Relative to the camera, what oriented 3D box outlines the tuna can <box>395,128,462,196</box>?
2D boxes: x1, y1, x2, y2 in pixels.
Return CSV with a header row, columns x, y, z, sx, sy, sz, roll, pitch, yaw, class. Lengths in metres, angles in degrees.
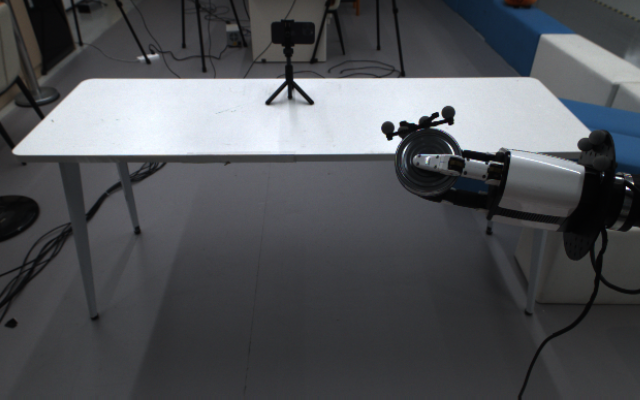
x,y,z,sx,sy,sz,roll,pitch,yaw,class
0.141,-0.051,0.625,0.085,0.085,0.034,12,-6,14,tuna can
